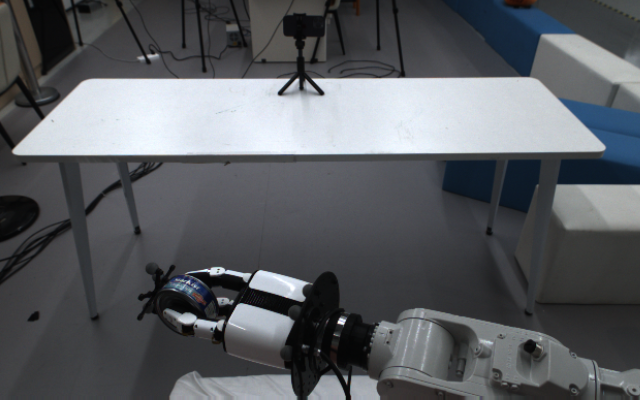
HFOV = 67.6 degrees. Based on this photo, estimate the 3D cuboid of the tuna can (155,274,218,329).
[{"bbox_3d":[-0.184,0.151,0.670,0.085,0.085,0.034,13,31,15],"label":"tuna can"}]
